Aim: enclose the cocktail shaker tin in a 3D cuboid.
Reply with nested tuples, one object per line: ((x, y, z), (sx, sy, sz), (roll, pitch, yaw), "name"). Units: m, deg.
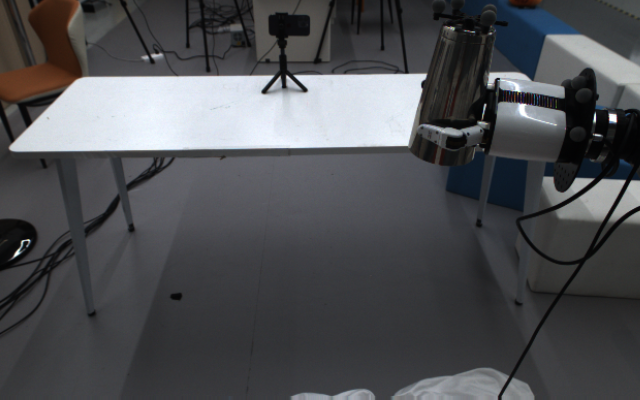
((0.177, -0.143, 0.637), (0.093, 0.170, 0.093), (3, 34, -2), "cocktail shaker tin")
